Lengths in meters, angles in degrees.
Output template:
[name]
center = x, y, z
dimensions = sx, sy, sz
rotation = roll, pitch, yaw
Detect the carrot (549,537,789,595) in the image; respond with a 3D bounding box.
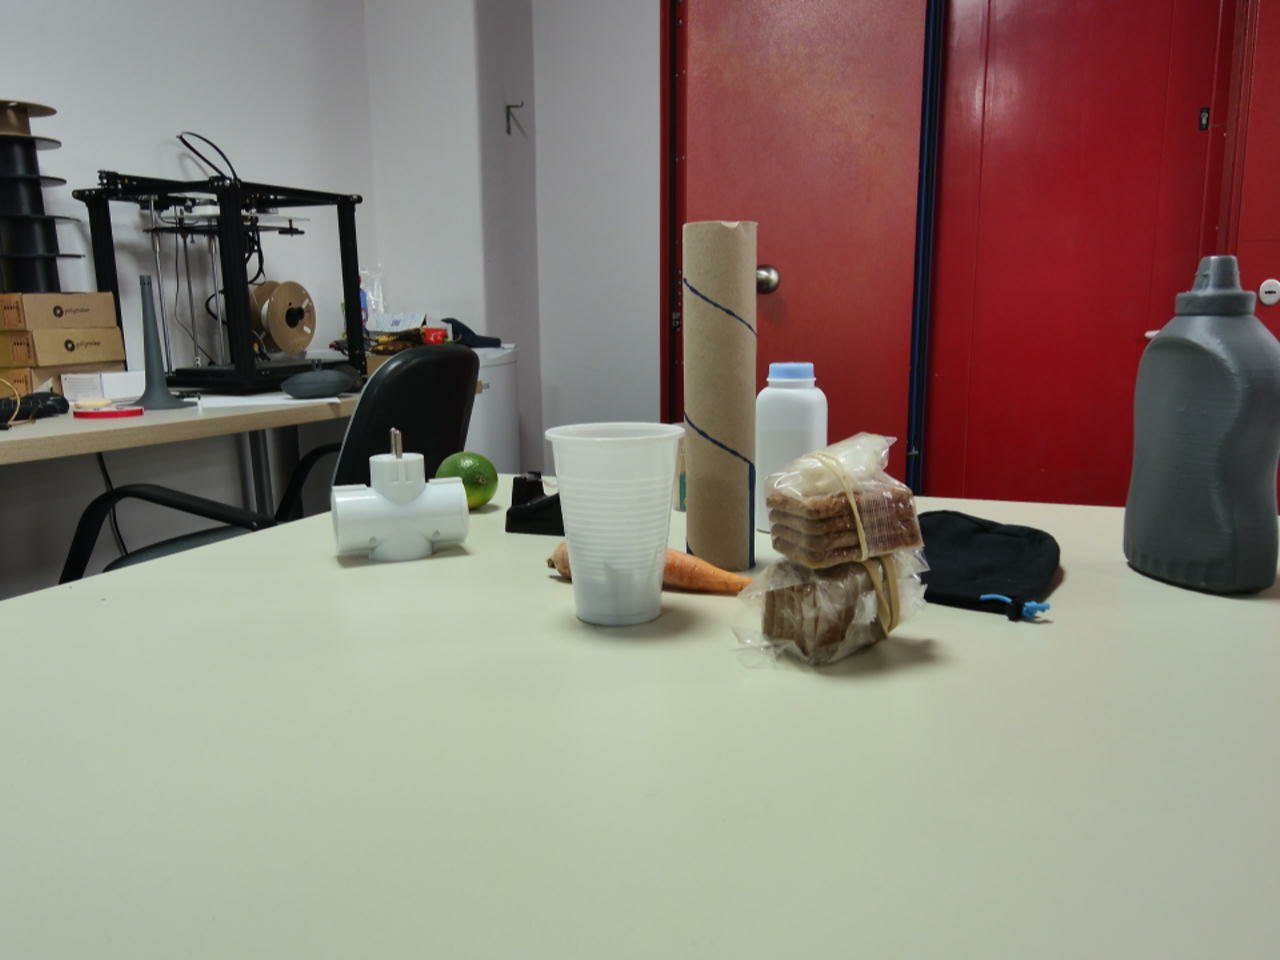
[carrot]
center = 0.014, 0.054, 0.628
dimensions = 0.163, 0.029, 0.031
rotation = 3, 8, 23
